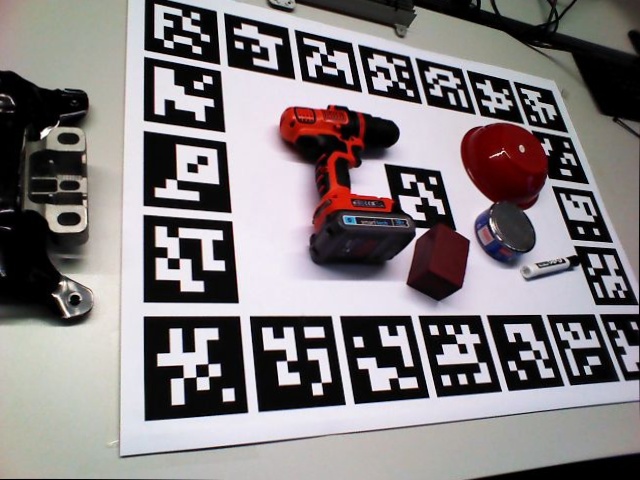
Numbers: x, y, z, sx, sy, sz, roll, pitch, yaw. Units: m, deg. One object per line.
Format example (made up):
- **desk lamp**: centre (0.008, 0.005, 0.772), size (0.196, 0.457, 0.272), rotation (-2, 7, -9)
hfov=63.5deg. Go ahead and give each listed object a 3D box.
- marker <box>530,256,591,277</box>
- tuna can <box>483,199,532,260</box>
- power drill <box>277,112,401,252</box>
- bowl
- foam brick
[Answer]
- **marker**: centre (0.364, 0.039, 0.777), size (0.120, 0.020, 0.019), rotation (-7, 70, -28)
- **tuna can**: centre (0.282, -0.015, 0.757), size (0.085, 0.034, 0.085), rotation (12, 60, -22)
- **power drill**: centre (0.042, -0.078, 0.667), size (0.184, 0.058, 0.186), rotation (4, 61, -28)
- **bowl**: centre (0.310, -0.129, 0.829), size (0.161, 0.055, 0.160), rotation (11, 55, -16)
- **foam brick**: centre (0.159, 0.032, 0.673), size (0.051, 0.053, 0.077), rotation (26, 58, -13)
